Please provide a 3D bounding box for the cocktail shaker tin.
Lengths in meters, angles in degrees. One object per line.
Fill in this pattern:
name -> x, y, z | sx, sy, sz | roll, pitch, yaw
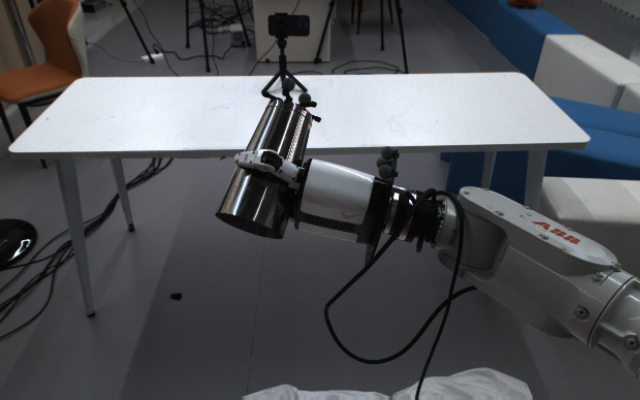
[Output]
cocktail shaker tin -> -0.067, -0.043, 0.643 | 0.093, 0.093, 0.170 | 14, 74, 16
